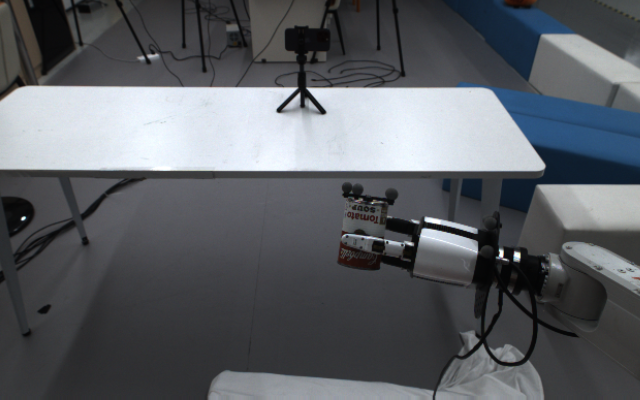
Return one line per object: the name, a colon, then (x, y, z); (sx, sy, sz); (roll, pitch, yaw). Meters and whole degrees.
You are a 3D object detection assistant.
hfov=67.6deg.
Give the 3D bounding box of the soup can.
soup can: (0.067, 0.050, 0.744); (0.067, 0.101, 0.067); (7, 4, 0)
